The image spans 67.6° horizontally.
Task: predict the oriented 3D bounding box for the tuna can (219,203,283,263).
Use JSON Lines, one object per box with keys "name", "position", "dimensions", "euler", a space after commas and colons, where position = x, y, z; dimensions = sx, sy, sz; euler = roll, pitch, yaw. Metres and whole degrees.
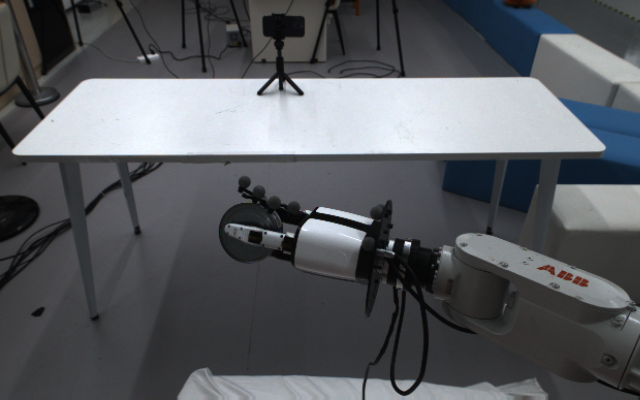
{"name": "tuna can", "position": [-0.095, 0.045, 0.682], "dimensions": [0.085, 0.085, 0.034], "euler": [10, 4, 11]}
